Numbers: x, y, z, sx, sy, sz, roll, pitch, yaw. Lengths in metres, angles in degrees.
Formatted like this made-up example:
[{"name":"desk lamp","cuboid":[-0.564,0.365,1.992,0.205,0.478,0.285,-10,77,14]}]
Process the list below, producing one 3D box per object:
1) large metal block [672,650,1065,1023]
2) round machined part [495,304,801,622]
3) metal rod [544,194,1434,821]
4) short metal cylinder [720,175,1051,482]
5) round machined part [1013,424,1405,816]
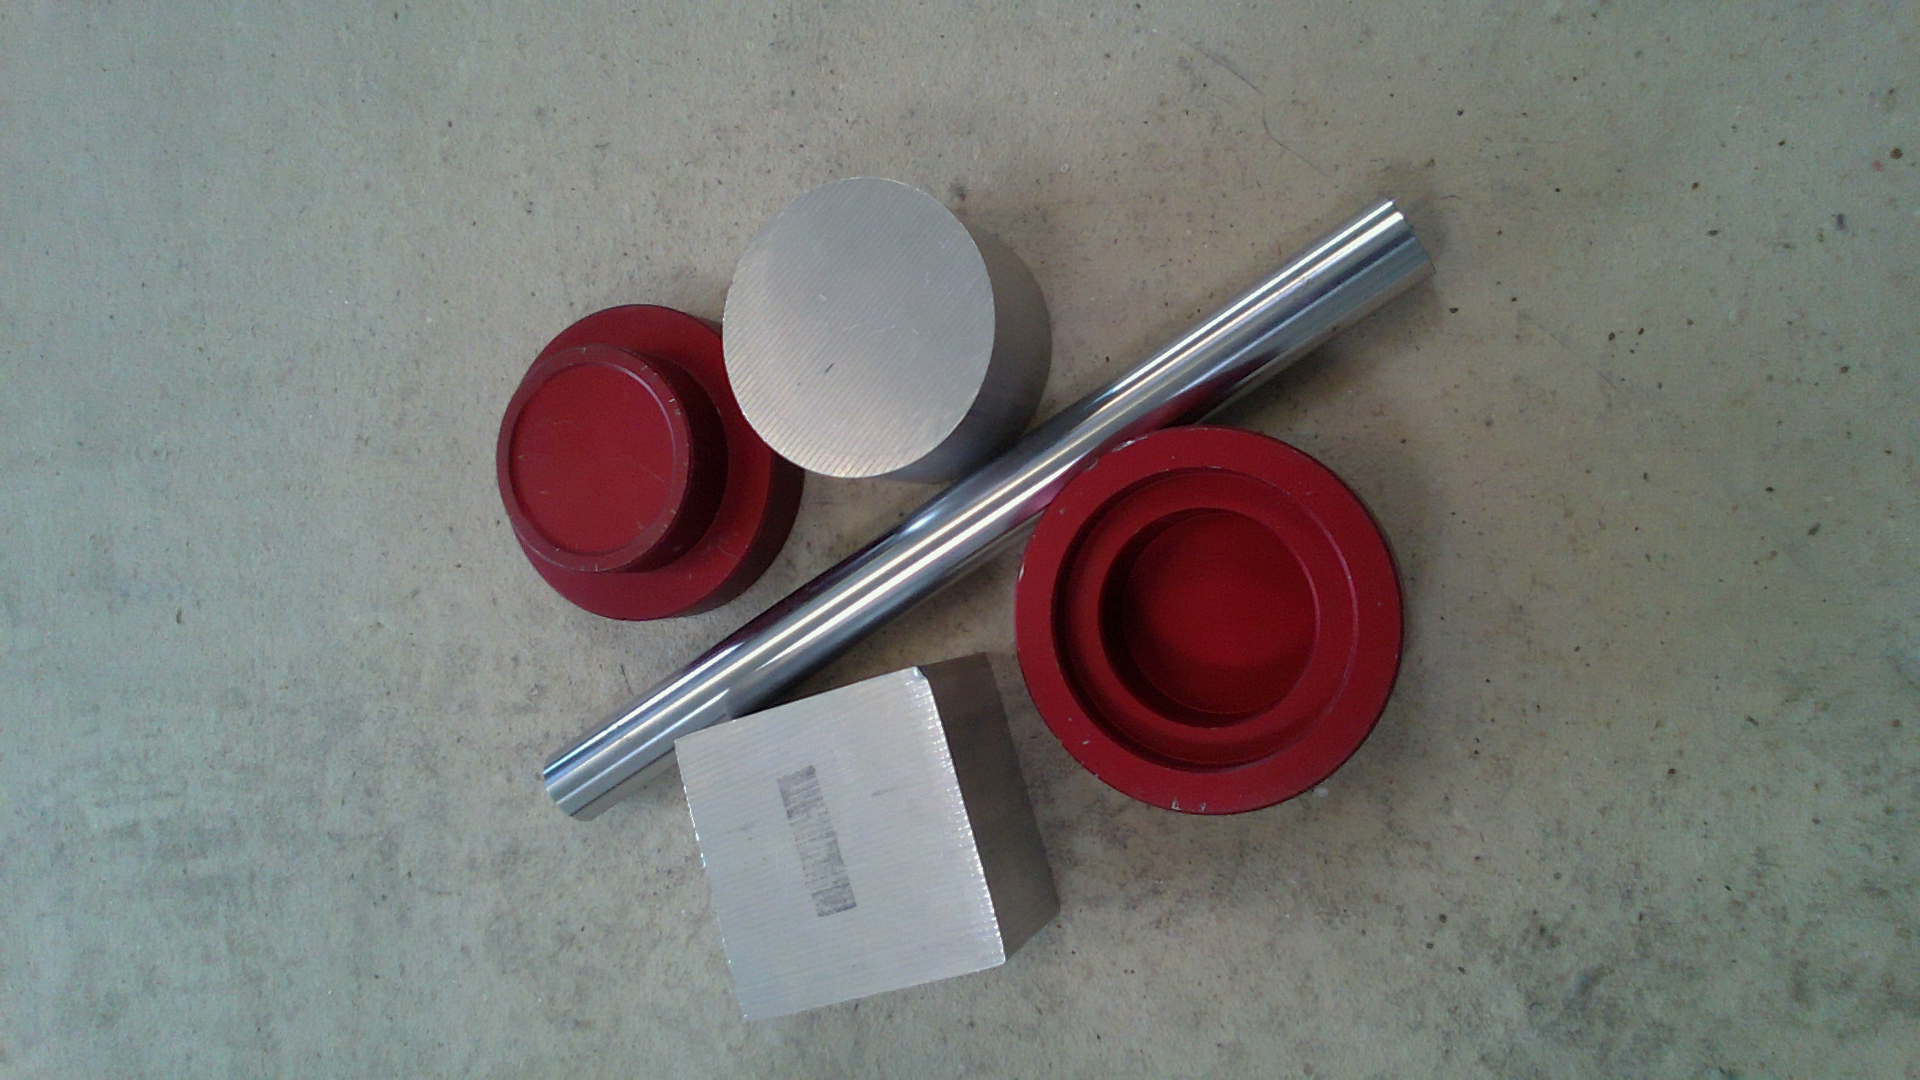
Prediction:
[{"name":"large metal block","cuboid":[-0.025,0.083,0.393,0.080,0.050,0.080,-18,84,19]},{"name":"round machined part","cuboid":[-0.102,-0.024,0.423,0.098,0.042,0.098,0,90,20]},{"name":"metal rod","cuboid":[-0.004,0.000,0.398,0.299,0.025,0.025,-33,79,17]},{"name":"short metal cylinder","cuboid":[-0.020,-0.057,0.389,0.080,0.050,0.080,0,90,20]},{"name":"round machined part","cuboid":[0.067,0.020,0.362,0.098,0.042,0.098,0,90,20]}]
